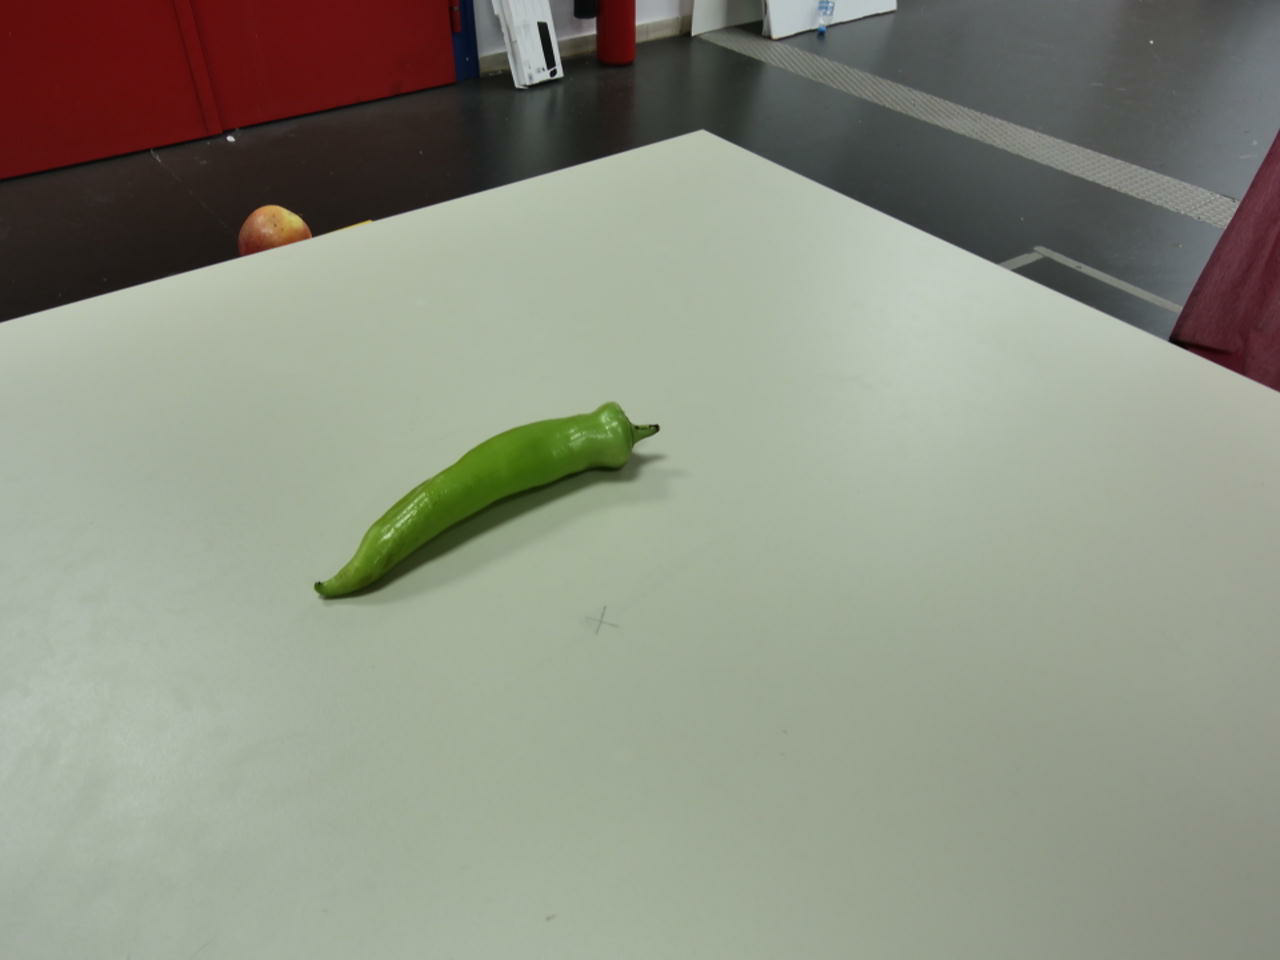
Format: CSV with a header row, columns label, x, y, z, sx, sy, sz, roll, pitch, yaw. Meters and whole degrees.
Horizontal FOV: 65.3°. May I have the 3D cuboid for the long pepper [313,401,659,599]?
label,x,y,z,sx,sy,sz,roll,pitch,yaw
long pepper,-0.078,0.001,0.510,0.197,0.038,0.047,-24,44,-28
